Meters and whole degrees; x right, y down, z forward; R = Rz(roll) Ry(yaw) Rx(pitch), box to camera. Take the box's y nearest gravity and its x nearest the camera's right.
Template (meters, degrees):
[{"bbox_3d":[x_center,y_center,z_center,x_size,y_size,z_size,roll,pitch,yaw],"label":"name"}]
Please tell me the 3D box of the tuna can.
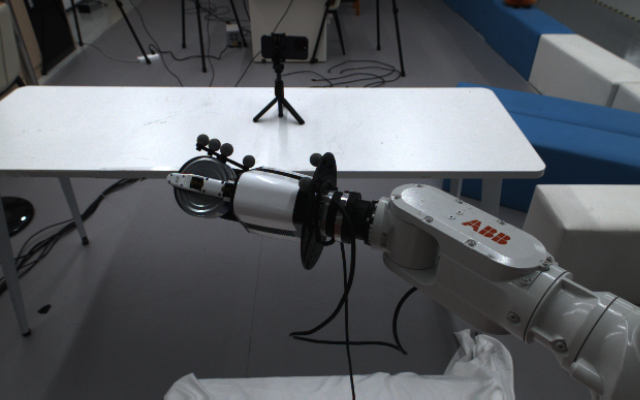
[{"bbox_3d":[-0.157,-0.017,0.679,0.085,0.085,0.034,14,-6,16],"label":"tuna can"}]
